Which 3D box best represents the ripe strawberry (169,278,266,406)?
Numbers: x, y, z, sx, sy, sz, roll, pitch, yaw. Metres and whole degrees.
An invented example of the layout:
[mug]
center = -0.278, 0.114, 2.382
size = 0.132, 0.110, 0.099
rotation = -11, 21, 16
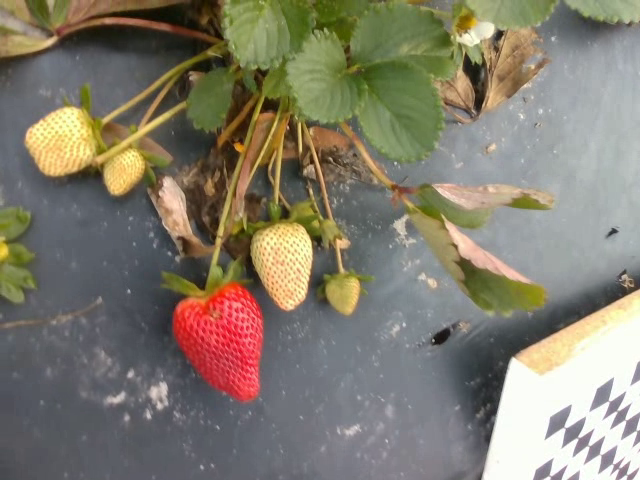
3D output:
[ripe strawberry]
center = -0.044, 0.046, 0.288
size = 0.050, 0.059, 0.034
rotation = -25, -10, -21
